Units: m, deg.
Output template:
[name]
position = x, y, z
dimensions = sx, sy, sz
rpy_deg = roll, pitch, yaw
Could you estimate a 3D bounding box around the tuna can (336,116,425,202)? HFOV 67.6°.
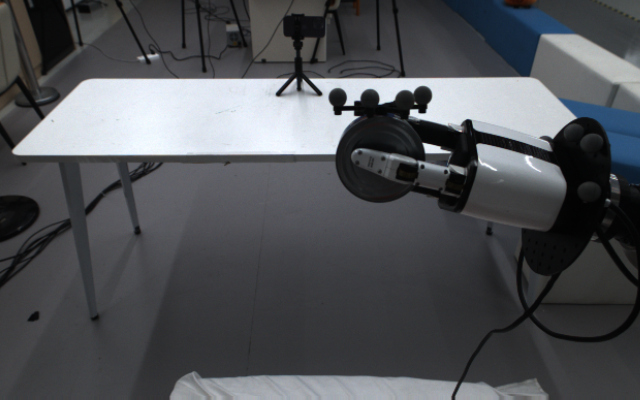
[tuna can]
position = 0.061, -0.044, 0.480
dimensions = 0.085, 0.085, 0.034
rpy_deg = 4, 18, 3
